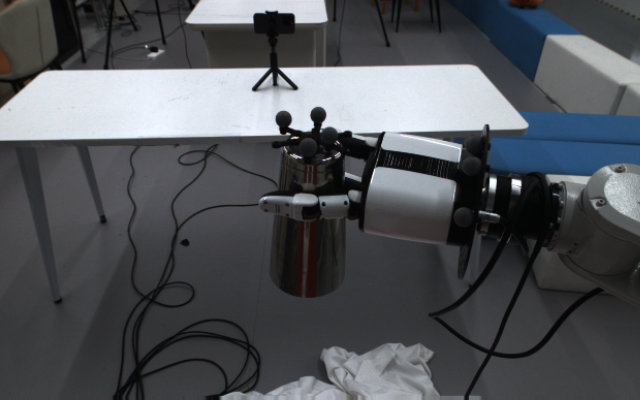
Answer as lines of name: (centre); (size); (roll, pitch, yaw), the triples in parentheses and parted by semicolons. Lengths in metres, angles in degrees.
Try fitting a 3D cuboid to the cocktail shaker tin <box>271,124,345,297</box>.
cocktail shaker tin: (-0.008, 0.014, 0.550); (0.093, 0.170, 0.093); (2, 33, -2)
